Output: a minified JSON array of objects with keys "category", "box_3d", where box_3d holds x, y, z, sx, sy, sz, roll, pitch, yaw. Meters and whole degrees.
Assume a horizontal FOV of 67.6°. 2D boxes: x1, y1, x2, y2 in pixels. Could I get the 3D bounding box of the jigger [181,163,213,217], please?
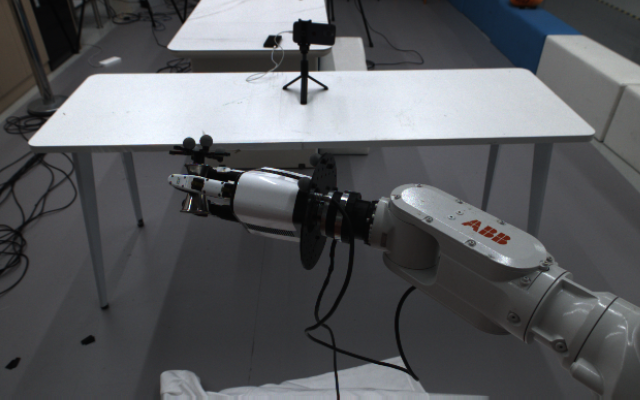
[{"category":"jigger","box_3d":[-0.174,-0.015,0.689,0.043,0.071,0.043,2,-5,0]}]
